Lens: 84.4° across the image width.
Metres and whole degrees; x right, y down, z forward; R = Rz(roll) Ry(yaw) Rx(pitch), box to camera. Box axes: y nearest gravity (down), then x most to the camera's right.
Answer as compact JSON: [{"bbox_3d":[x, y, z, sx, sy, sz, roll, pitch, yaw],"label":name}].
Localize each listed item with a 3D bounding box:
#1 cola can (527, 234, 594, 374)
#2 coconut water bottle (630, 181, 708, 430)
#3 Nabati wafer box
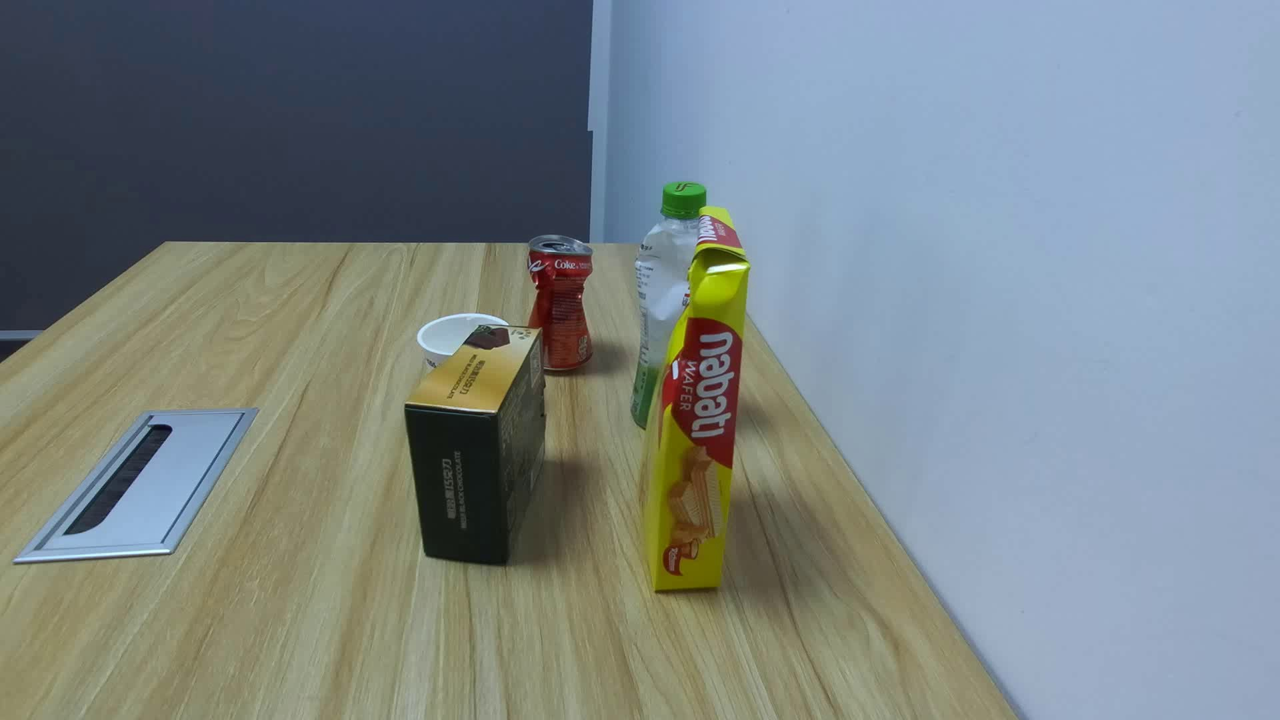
[{"bbox_3d":[-0.071,-0.048,0.622,0.065,0.112,0.069,9,24,13],"label":"cola can"},{"bbox_3d":[0.028,-0.035,0.517,0.069,0.187,0.069,1,19,0],"label":"coconut water bottle"},{"bbox_3d":[0.027,0.023,0.398,0.043,0.205,0.113,1,28,-8],"label":"Nabati wafer box"}]
